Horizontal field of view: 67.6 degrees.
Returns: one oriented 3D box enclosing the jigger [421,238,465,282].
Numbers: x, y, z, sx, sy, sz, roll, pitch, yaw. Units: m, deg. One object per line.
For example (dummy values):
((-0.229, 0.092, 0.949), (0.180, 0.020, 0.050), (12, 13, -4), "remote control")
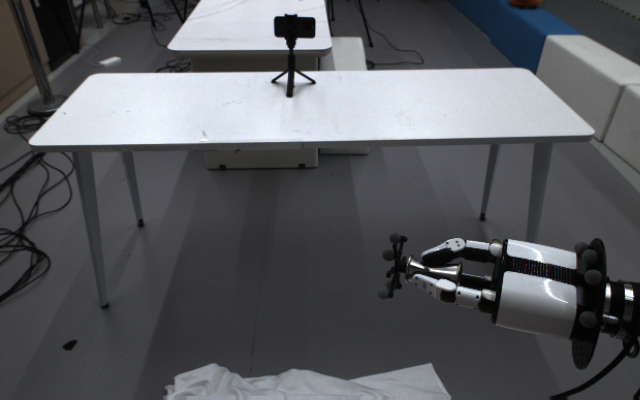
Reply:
((0.159, 0.095, 0.650), (0.071, 0.043, 0.043), (8, 34, 23), "jigger")
